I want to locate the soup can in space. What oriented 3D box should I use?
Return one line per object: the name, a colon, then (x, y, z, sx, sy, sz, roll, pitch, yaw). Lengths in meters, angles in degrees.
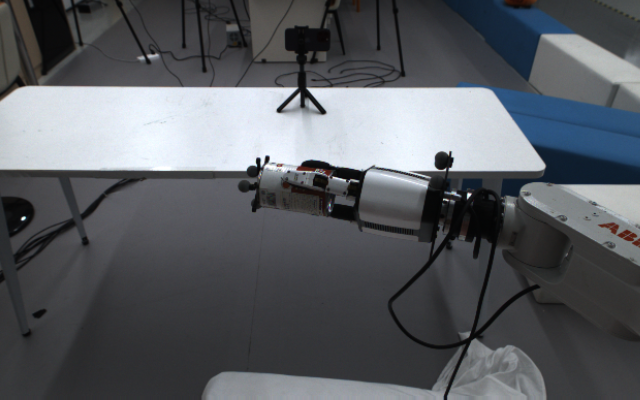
soup can: (-0.030, -0.015, 0.693, 0.101, 0.067, 0.067, 7, 35, 10)
